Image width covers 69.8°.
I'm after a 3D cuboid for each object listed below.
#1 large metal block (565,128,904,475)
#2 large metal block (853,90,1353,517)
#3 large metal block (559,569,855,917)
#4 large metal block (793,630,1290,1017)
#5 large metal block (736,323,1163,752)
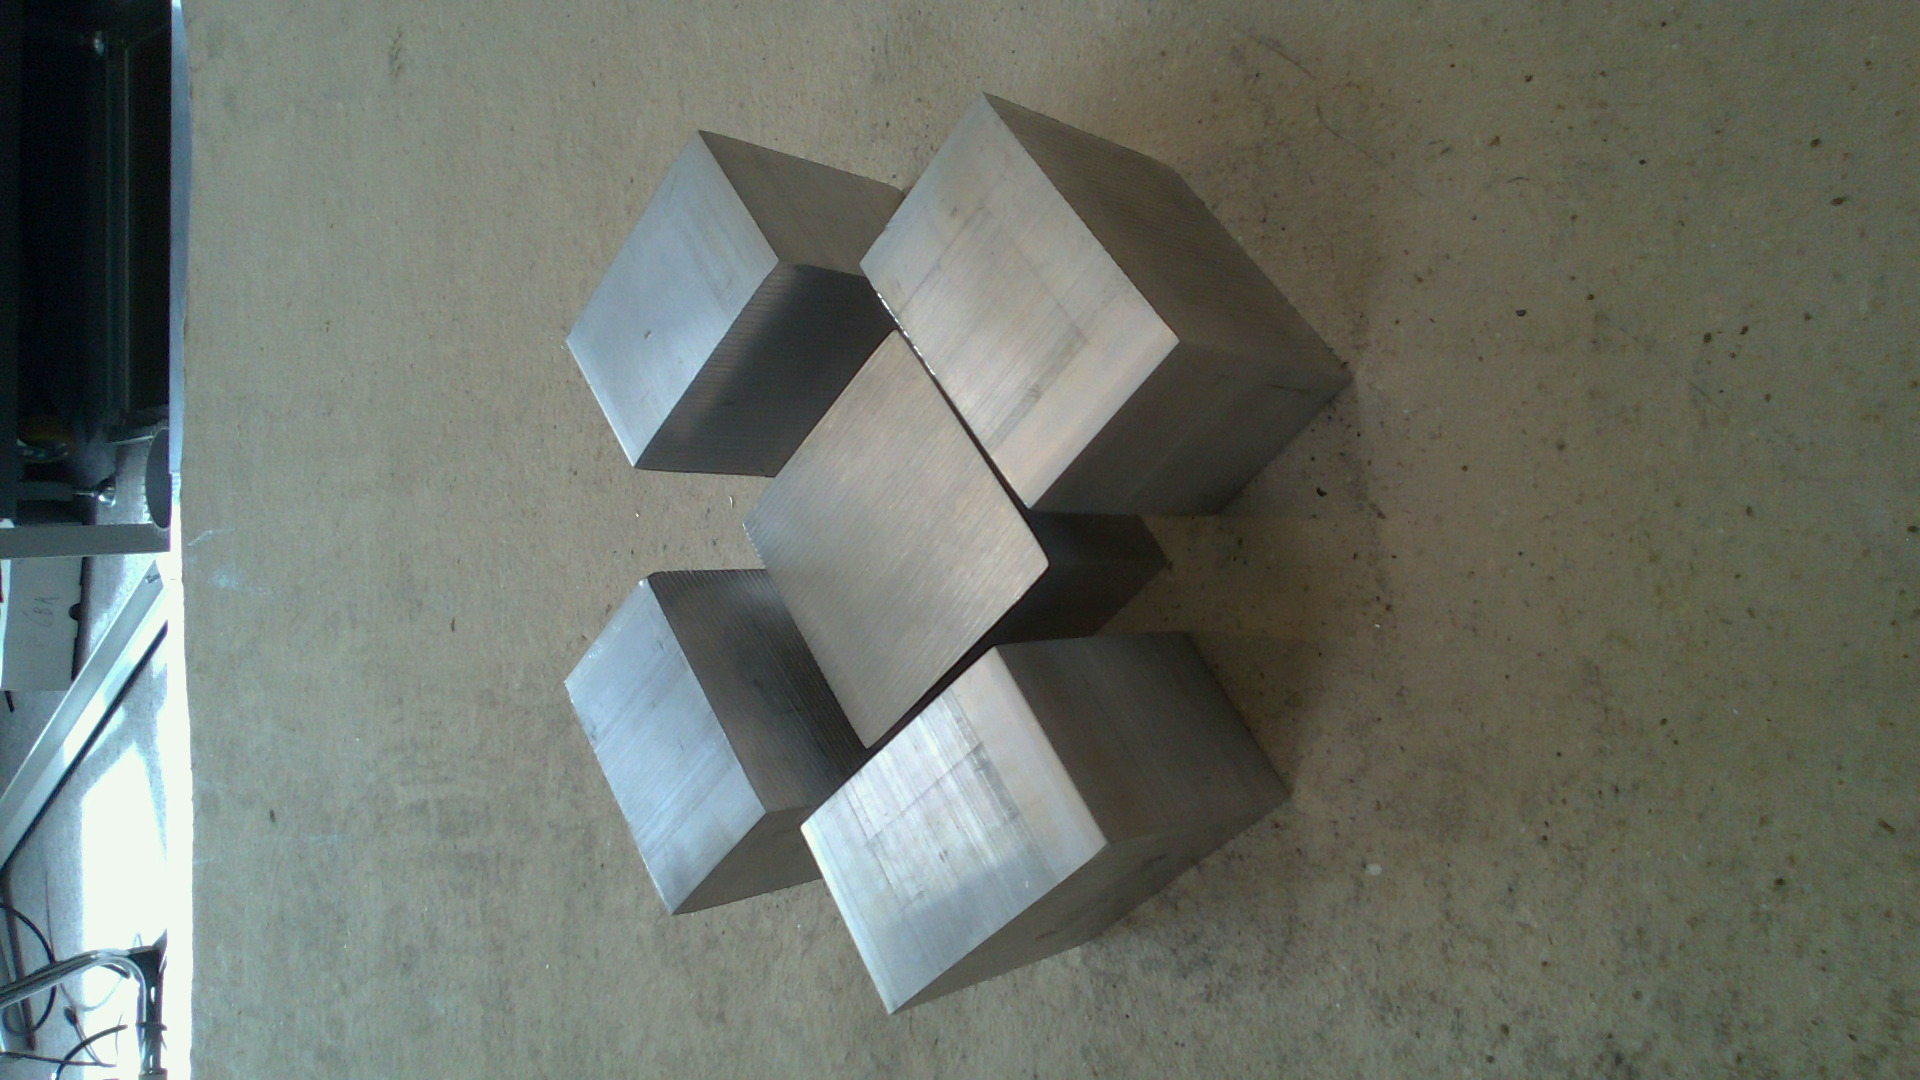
[{"bbox_3d":[-0.055,-0.065,0.406,0.080,0.080,0.050,-47,62,30],"label":"large metal block"},{"bbox_3d":[0.035,-0.052,0.330,0.050,0.080,0.080,-48,61,29],"label":"large metal block"},{"bbox_3d":[-0.058,0.055,0.408,0.050,0.080,0.080,-48,62,30],"label":"large metal block"},{"bbox_3d":[0.020,0.067,0.341,0.080,0.080,0.050,-45,62,30],"label":"large metal block"},{"bbox_3d":[-0.006,0.000,0.380,0.080,0.050,0.080,-47,62,30],"label":"large metal block"}]
